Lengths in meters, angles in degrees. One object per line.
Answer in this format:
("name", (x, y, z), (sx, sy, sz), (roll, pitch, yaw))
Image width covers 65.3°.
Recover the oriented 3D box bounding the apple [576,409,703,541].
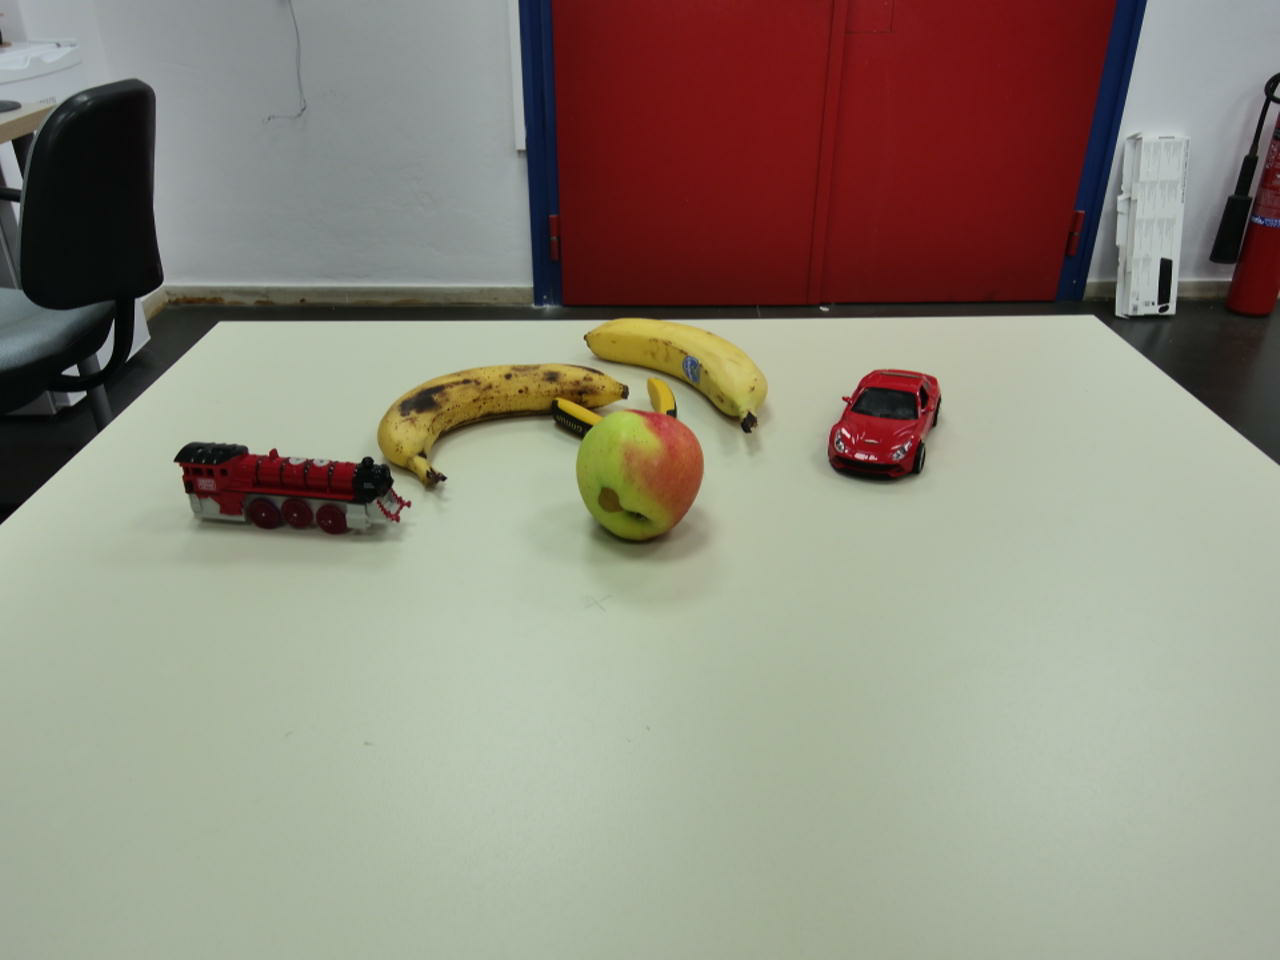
("apple", (0.000, -0.004, 0.580), (0.075, 0.074, 0.075), (-8, 28, -18))
